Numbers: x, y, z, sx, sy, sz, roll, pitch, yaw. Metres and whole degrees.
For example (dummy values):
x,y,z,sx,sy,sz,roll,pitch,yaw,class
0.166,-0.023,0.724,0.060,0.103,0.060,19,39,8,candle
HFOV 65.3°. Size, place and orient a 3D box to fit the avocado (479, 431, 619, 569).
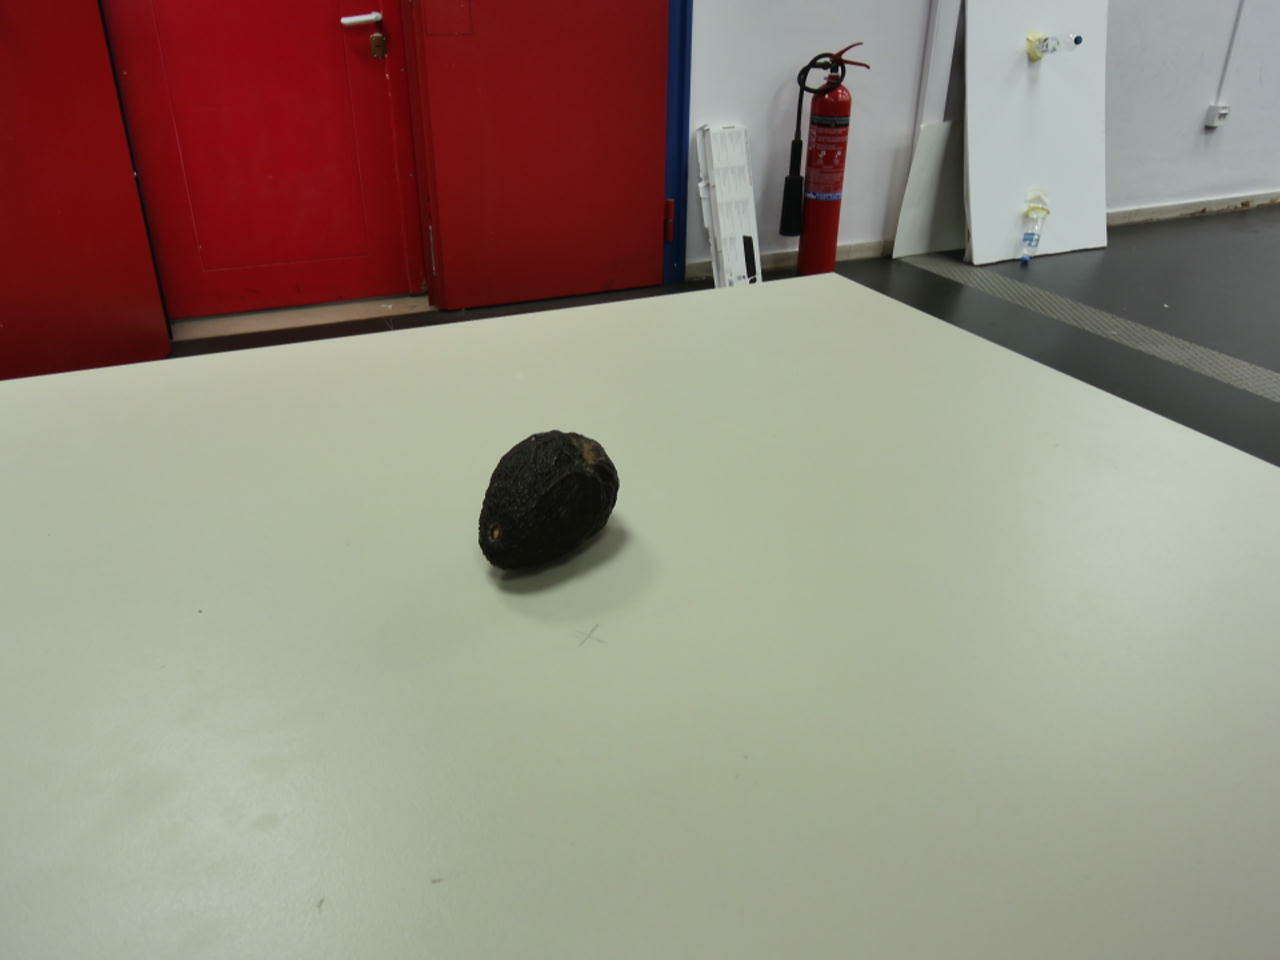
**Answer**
x,y,z,sx,sy,sz,roll,pitch,yaw,class
-0.050,0.009,0.519,0.062,0.062,0.092,21,33,36,avocado
